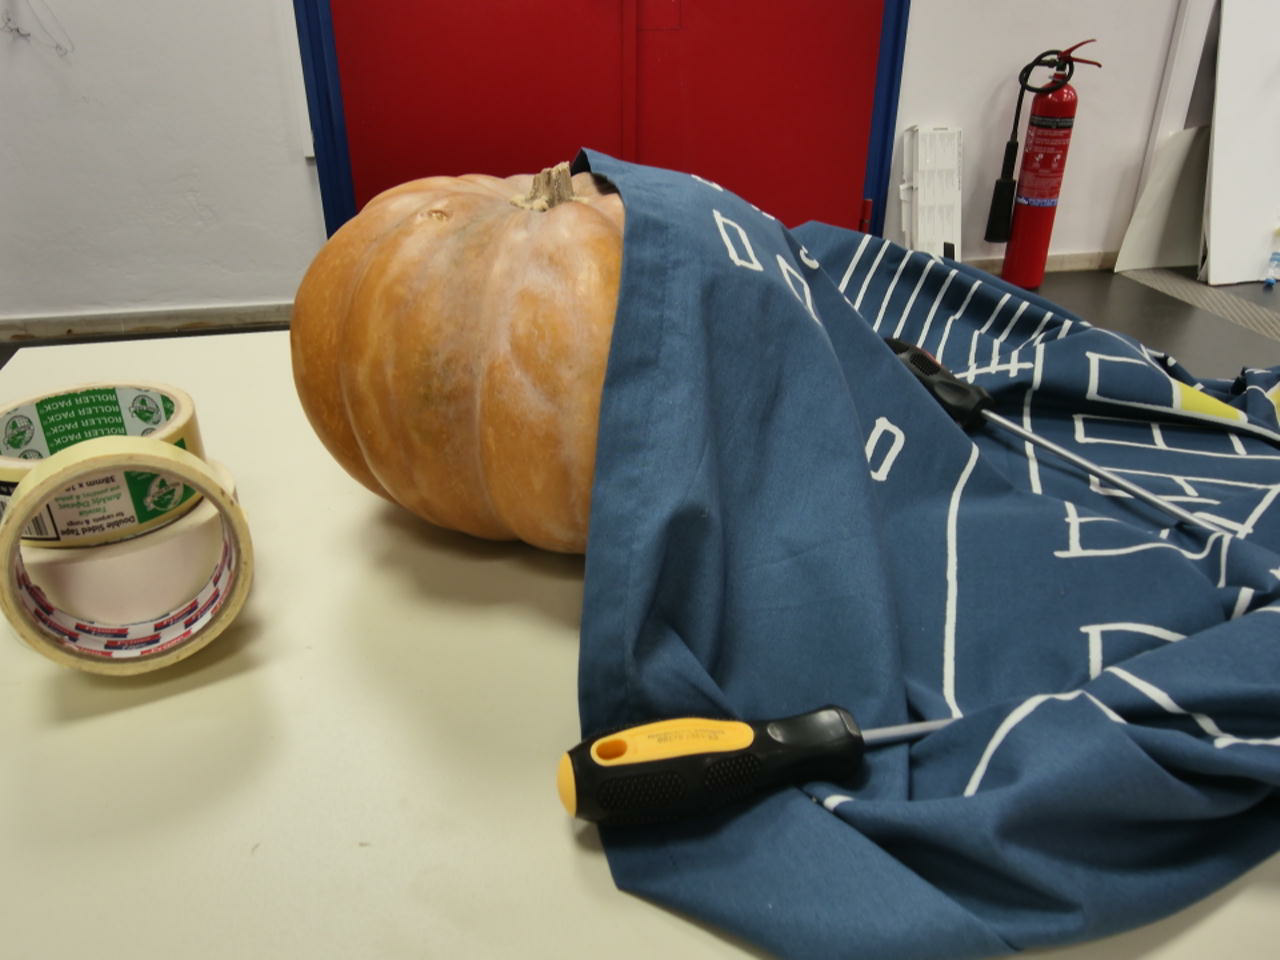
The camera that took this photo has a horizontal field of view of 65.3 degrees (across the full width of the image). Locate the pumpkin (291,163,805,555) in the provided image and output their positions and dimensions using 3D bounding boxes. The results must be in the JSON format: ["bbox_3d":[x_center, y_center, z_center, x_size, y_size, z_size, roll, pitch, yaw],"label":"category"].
[{"bbox_3d":[-0.043,-0.071,0.525,0.277,0.181,0.277,0,26,0],"label":"pumpkin"}]
